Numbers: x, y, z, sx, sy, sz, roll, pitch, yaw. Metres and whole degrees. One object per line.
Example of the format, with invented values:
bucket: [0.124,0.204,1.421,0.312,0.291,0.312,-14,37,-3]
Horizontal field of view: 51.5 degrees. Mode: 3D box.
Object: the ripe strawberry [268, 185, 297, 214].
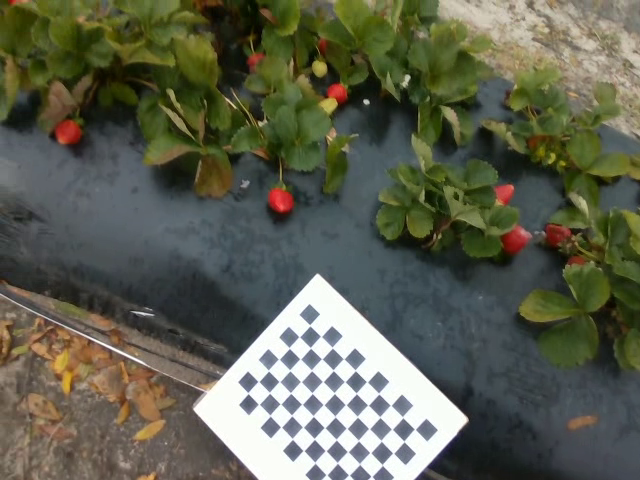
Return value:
ripe strawberry: [-0.060,-0.058,1.076,0.045,0.048,0.054,-9,39,6]
